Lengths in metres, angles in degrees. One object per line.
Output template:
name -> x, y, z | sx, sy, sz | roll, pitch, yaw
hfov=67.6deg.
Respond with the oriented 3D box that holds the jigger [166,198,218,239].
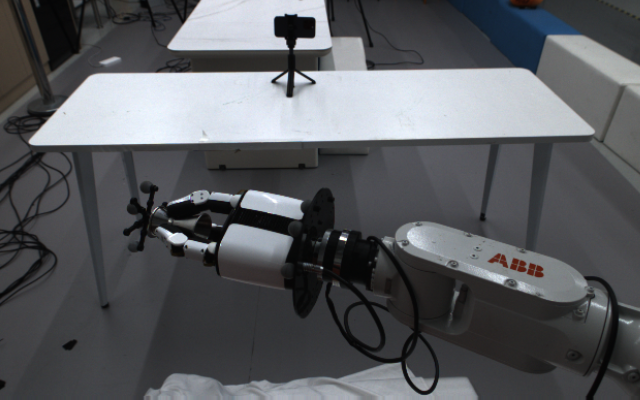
jigger -> -0.176, 0.031, 0.632 | 0.071, 0.043, 0.043 | 11, 36, 15
